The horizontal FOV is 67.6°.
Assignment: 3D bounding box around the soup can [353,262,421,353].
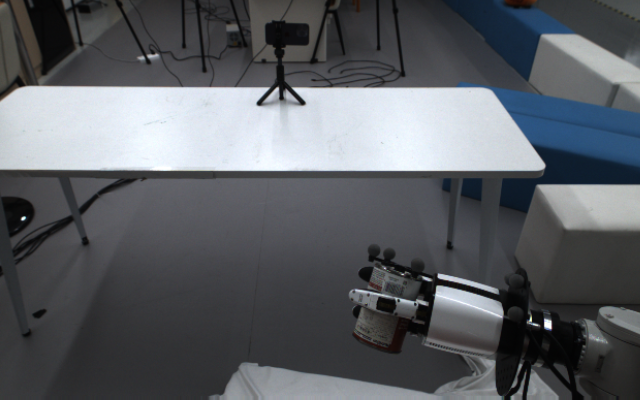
[{"bbox_3d":[0.092,0.141,0.640,0.067,0.101,0.067,17,-1,0],"label":"soup can"}]
